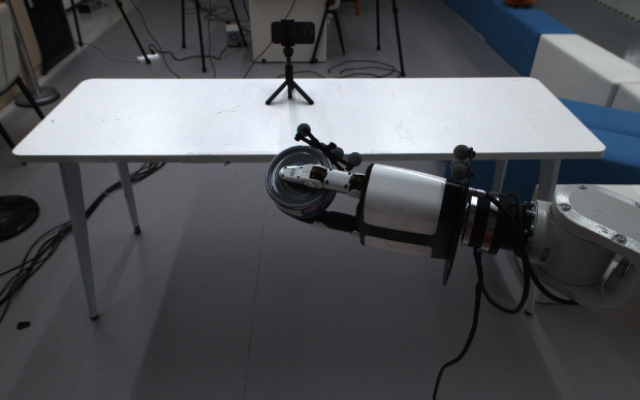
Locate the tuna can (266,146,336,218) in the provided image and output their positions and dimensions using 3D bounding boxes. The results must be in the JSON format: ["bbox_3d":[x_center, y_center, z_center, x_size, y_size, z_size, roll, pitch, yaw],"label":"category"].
[{"bbox_3d":[-0.019,-0.018,0.591,0.085,0.034,0.085,-4,69,10],"label":"tuna can"}]
